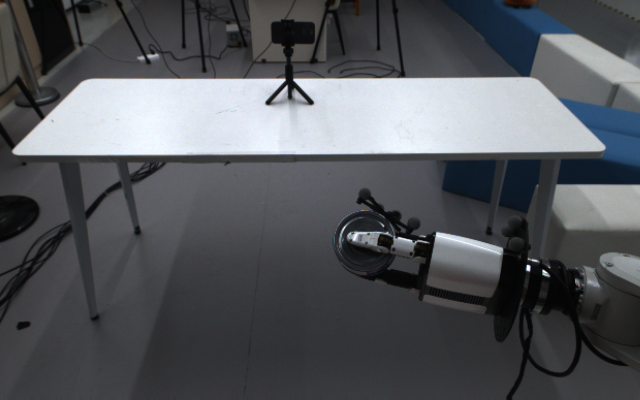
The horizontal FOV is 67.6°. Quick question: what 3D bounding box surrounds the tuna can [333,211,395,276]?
[{"bbox_3d":[0.065,0.064,0.649,0.085,0.034,0.085,-4,69,10],"label":"tuna can"}]
